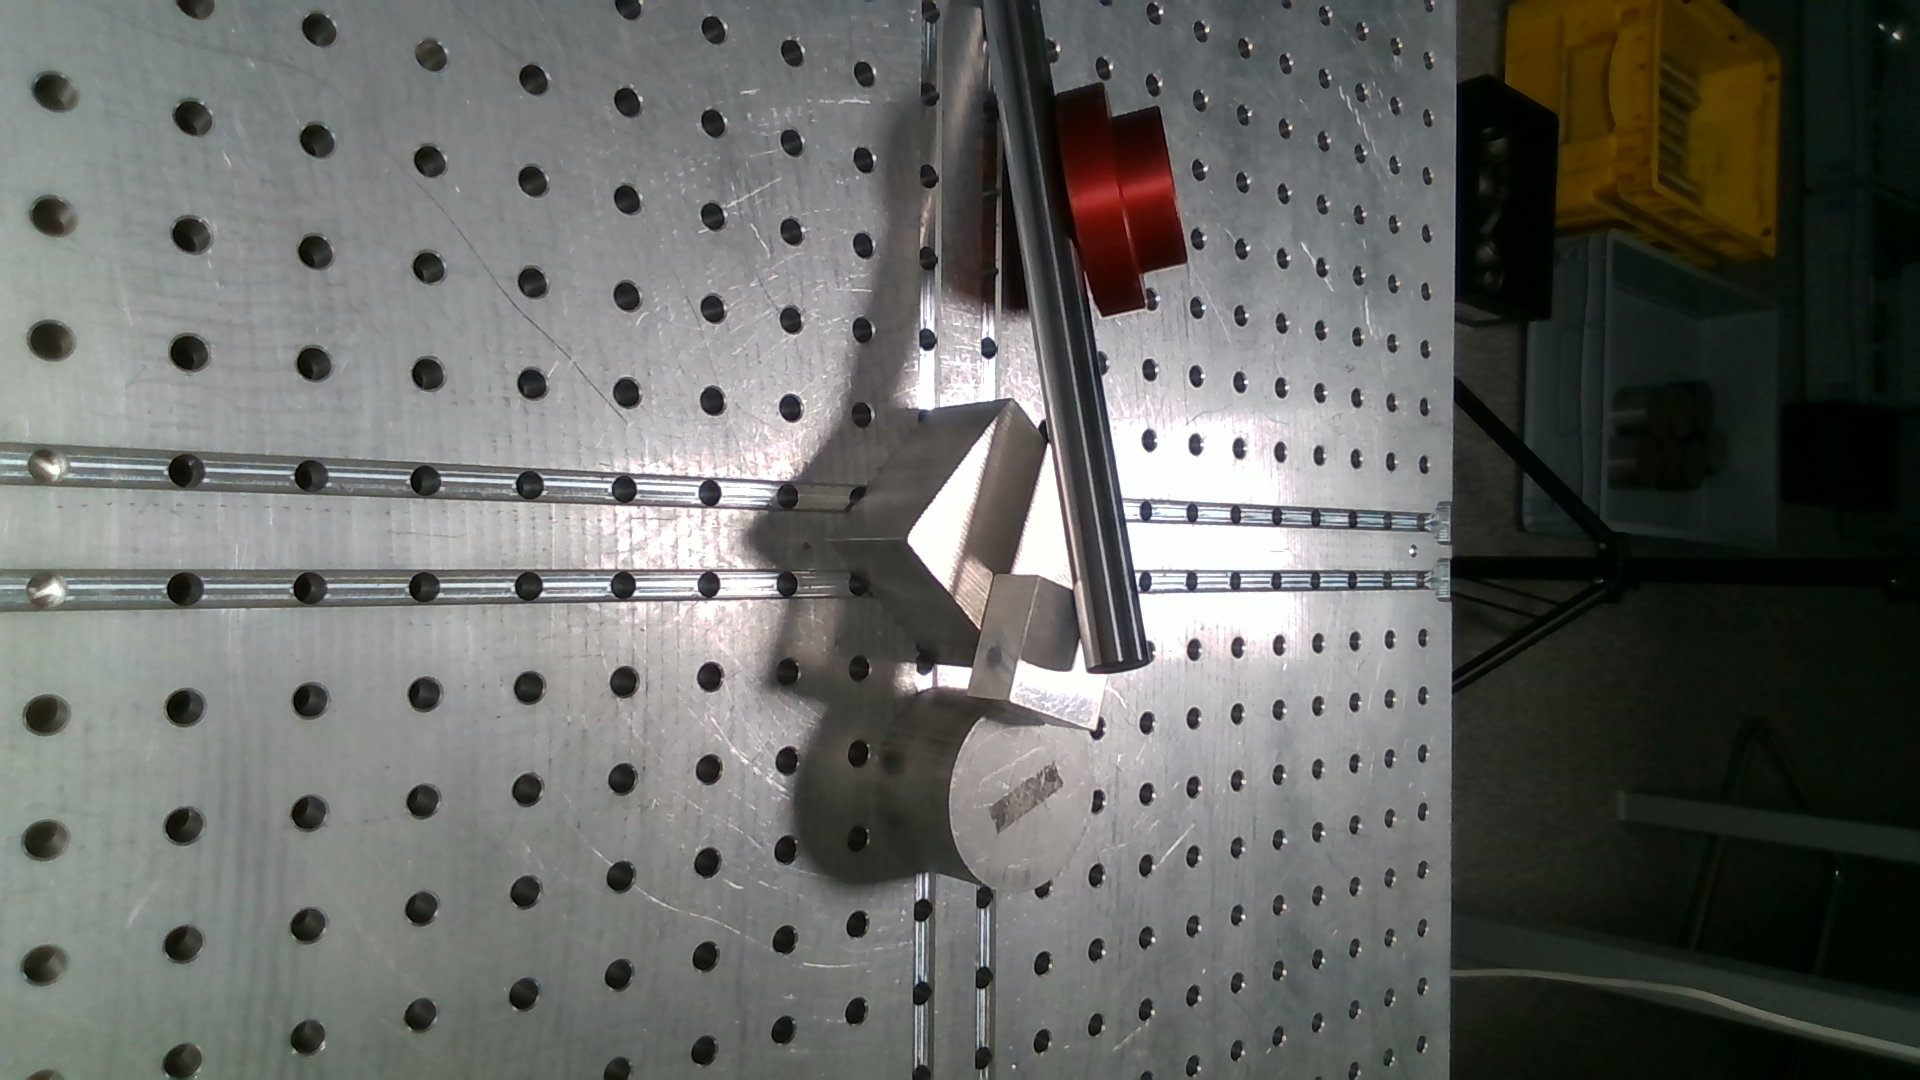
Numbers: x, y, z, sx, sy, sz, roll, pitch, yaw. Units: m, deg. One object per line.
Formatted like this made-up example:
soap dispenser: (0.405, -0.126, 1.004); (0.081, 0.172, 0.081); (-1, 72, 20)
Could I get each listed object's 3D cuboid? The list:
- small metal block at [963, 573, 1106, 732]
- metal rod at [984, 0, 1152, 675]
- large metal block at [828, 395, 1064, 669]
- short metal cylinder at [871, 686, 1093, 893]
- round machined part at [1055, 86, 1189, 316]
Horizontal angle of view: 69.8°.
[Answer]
small metal block: (0.033, 0.045, 0.546); (0.050, 0.025, 0.050); (24, 75, -38)
metal rod: (0.042, -0.094, 0.564); (0.025, 0.025, 0.299); (7, 69, -40)
large metal block: (0.006, -0.001, 0.572); (0.080, 0.050, 0.080); (51, 60, -28)
short metal cylinder: (0.010, 0.103, 0.578); (0.080, 0.050, 0.080); (0, 90, -40)
round machined part: (0.073, -0.149, 0.601); (0.098, 0.042, 0.098); (-10, 89, -79)
